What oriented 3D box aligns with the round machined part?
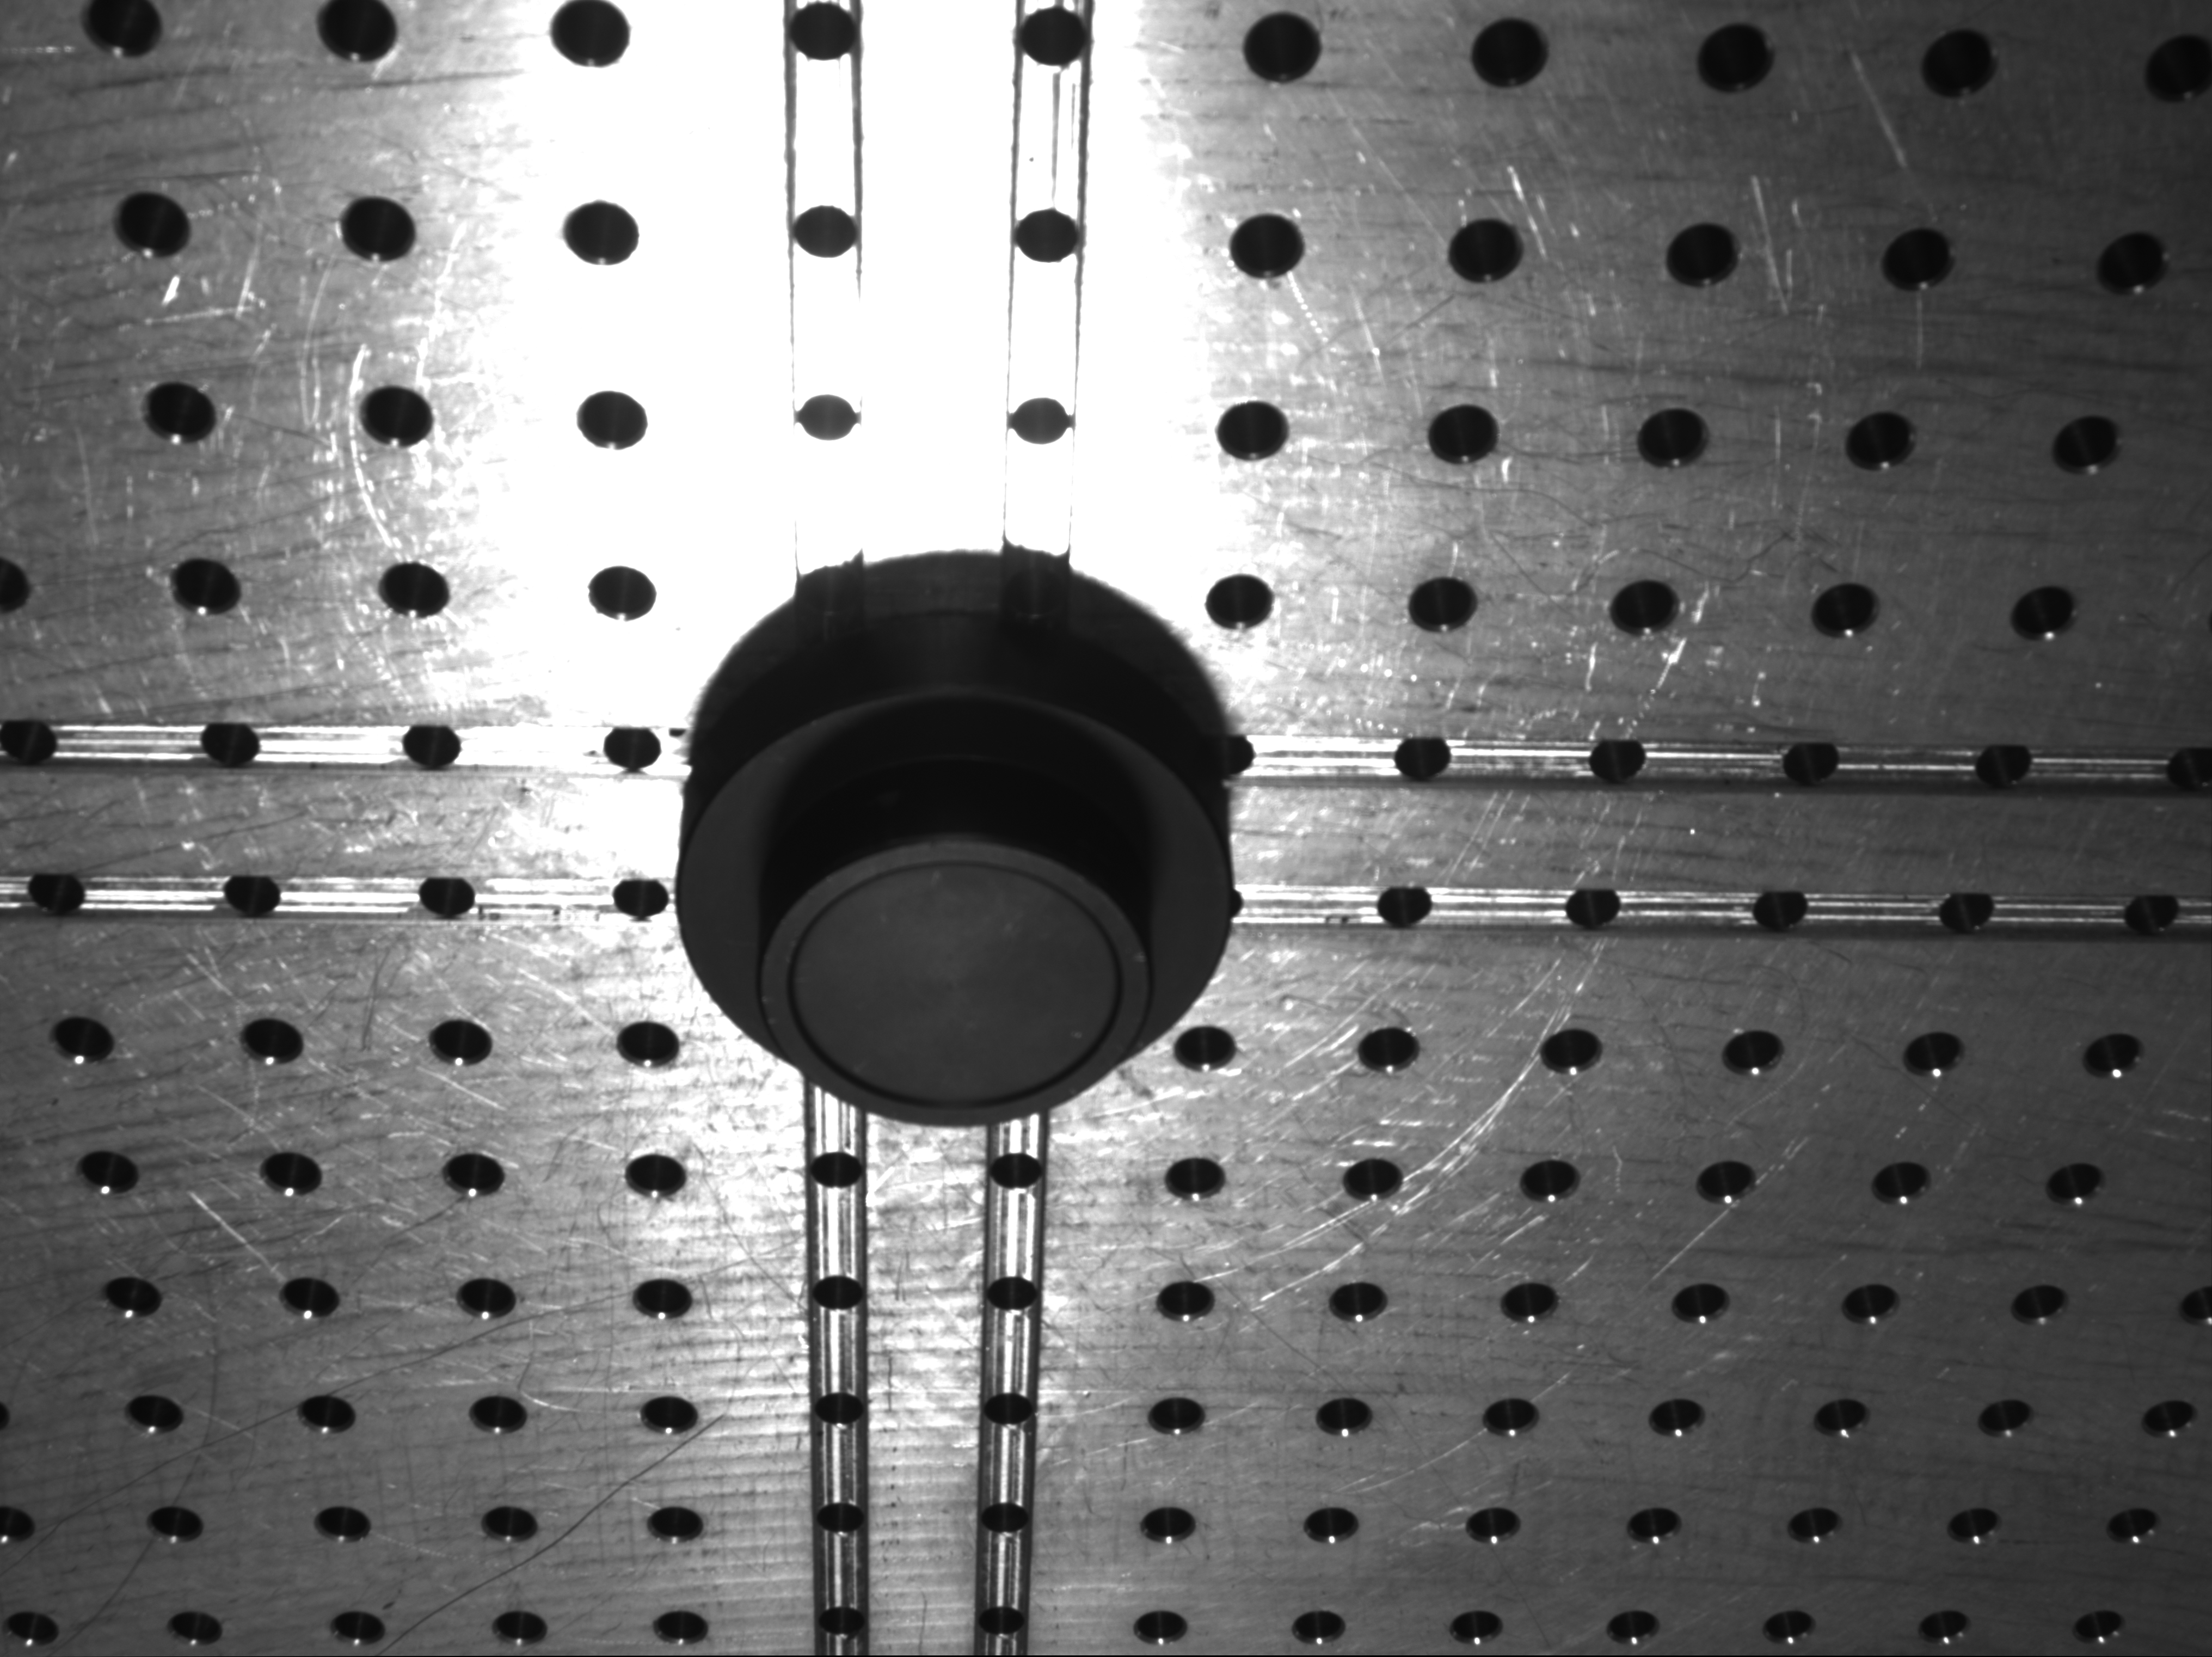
[{"bbox_3d":[-0.019,0.015,0.641,0.098,0.042,0.098,-1,130,-1],"label":"round machined part"}]
